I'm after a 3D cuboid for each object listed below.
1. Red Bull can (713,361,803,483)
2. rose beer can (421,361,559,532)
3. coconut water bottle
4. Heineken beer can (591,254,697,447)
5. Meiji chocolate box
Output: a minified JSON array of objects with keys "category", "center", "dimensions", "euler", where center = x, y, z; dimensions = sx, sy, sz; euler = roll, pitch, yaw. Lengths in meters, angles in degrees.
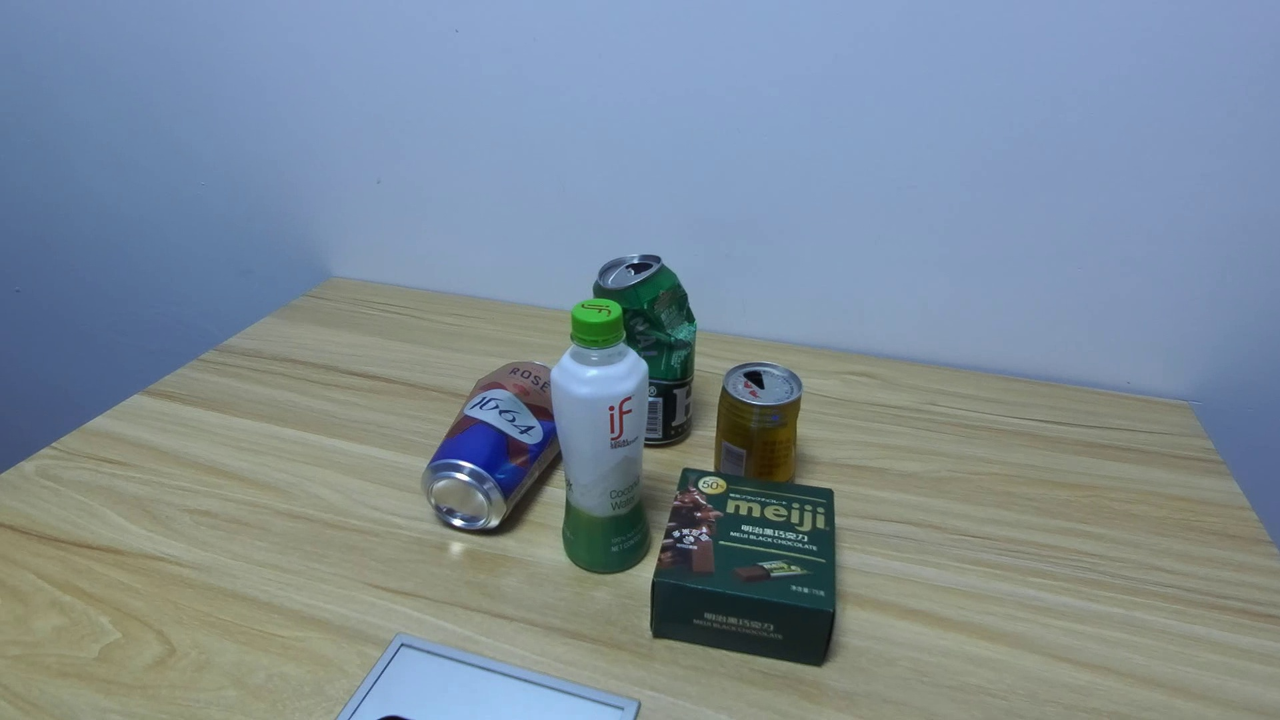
[{"category":"Red Bull can","center":[0.091,0.056,0.551],"dimensions":[0.069,0.092,0.069],"euler":[1,29,0]},{"category":"rose beer can","center":[-0.109,0.061,0.574],"dimensions":[0.069,0.069,0.168],"euler":[-12,28,22]},{"category":"coconut water bottle","center":[-0.025,0.052,0.466],"dimensions":[0.063,0.189,0.063],"euler":[0,31,1]},{"category":"Heineken beer can","center":[0.009,-0.006,0.598],"dimensions":[0.079,0.159,0.067],"euler":[-11,26,-4]},{"category":"Meiji chocolate box","center":[0.071,0.132,0.465],"dimensions":[0.110,0.056,0.109],"euler":[7,32,11]}]
